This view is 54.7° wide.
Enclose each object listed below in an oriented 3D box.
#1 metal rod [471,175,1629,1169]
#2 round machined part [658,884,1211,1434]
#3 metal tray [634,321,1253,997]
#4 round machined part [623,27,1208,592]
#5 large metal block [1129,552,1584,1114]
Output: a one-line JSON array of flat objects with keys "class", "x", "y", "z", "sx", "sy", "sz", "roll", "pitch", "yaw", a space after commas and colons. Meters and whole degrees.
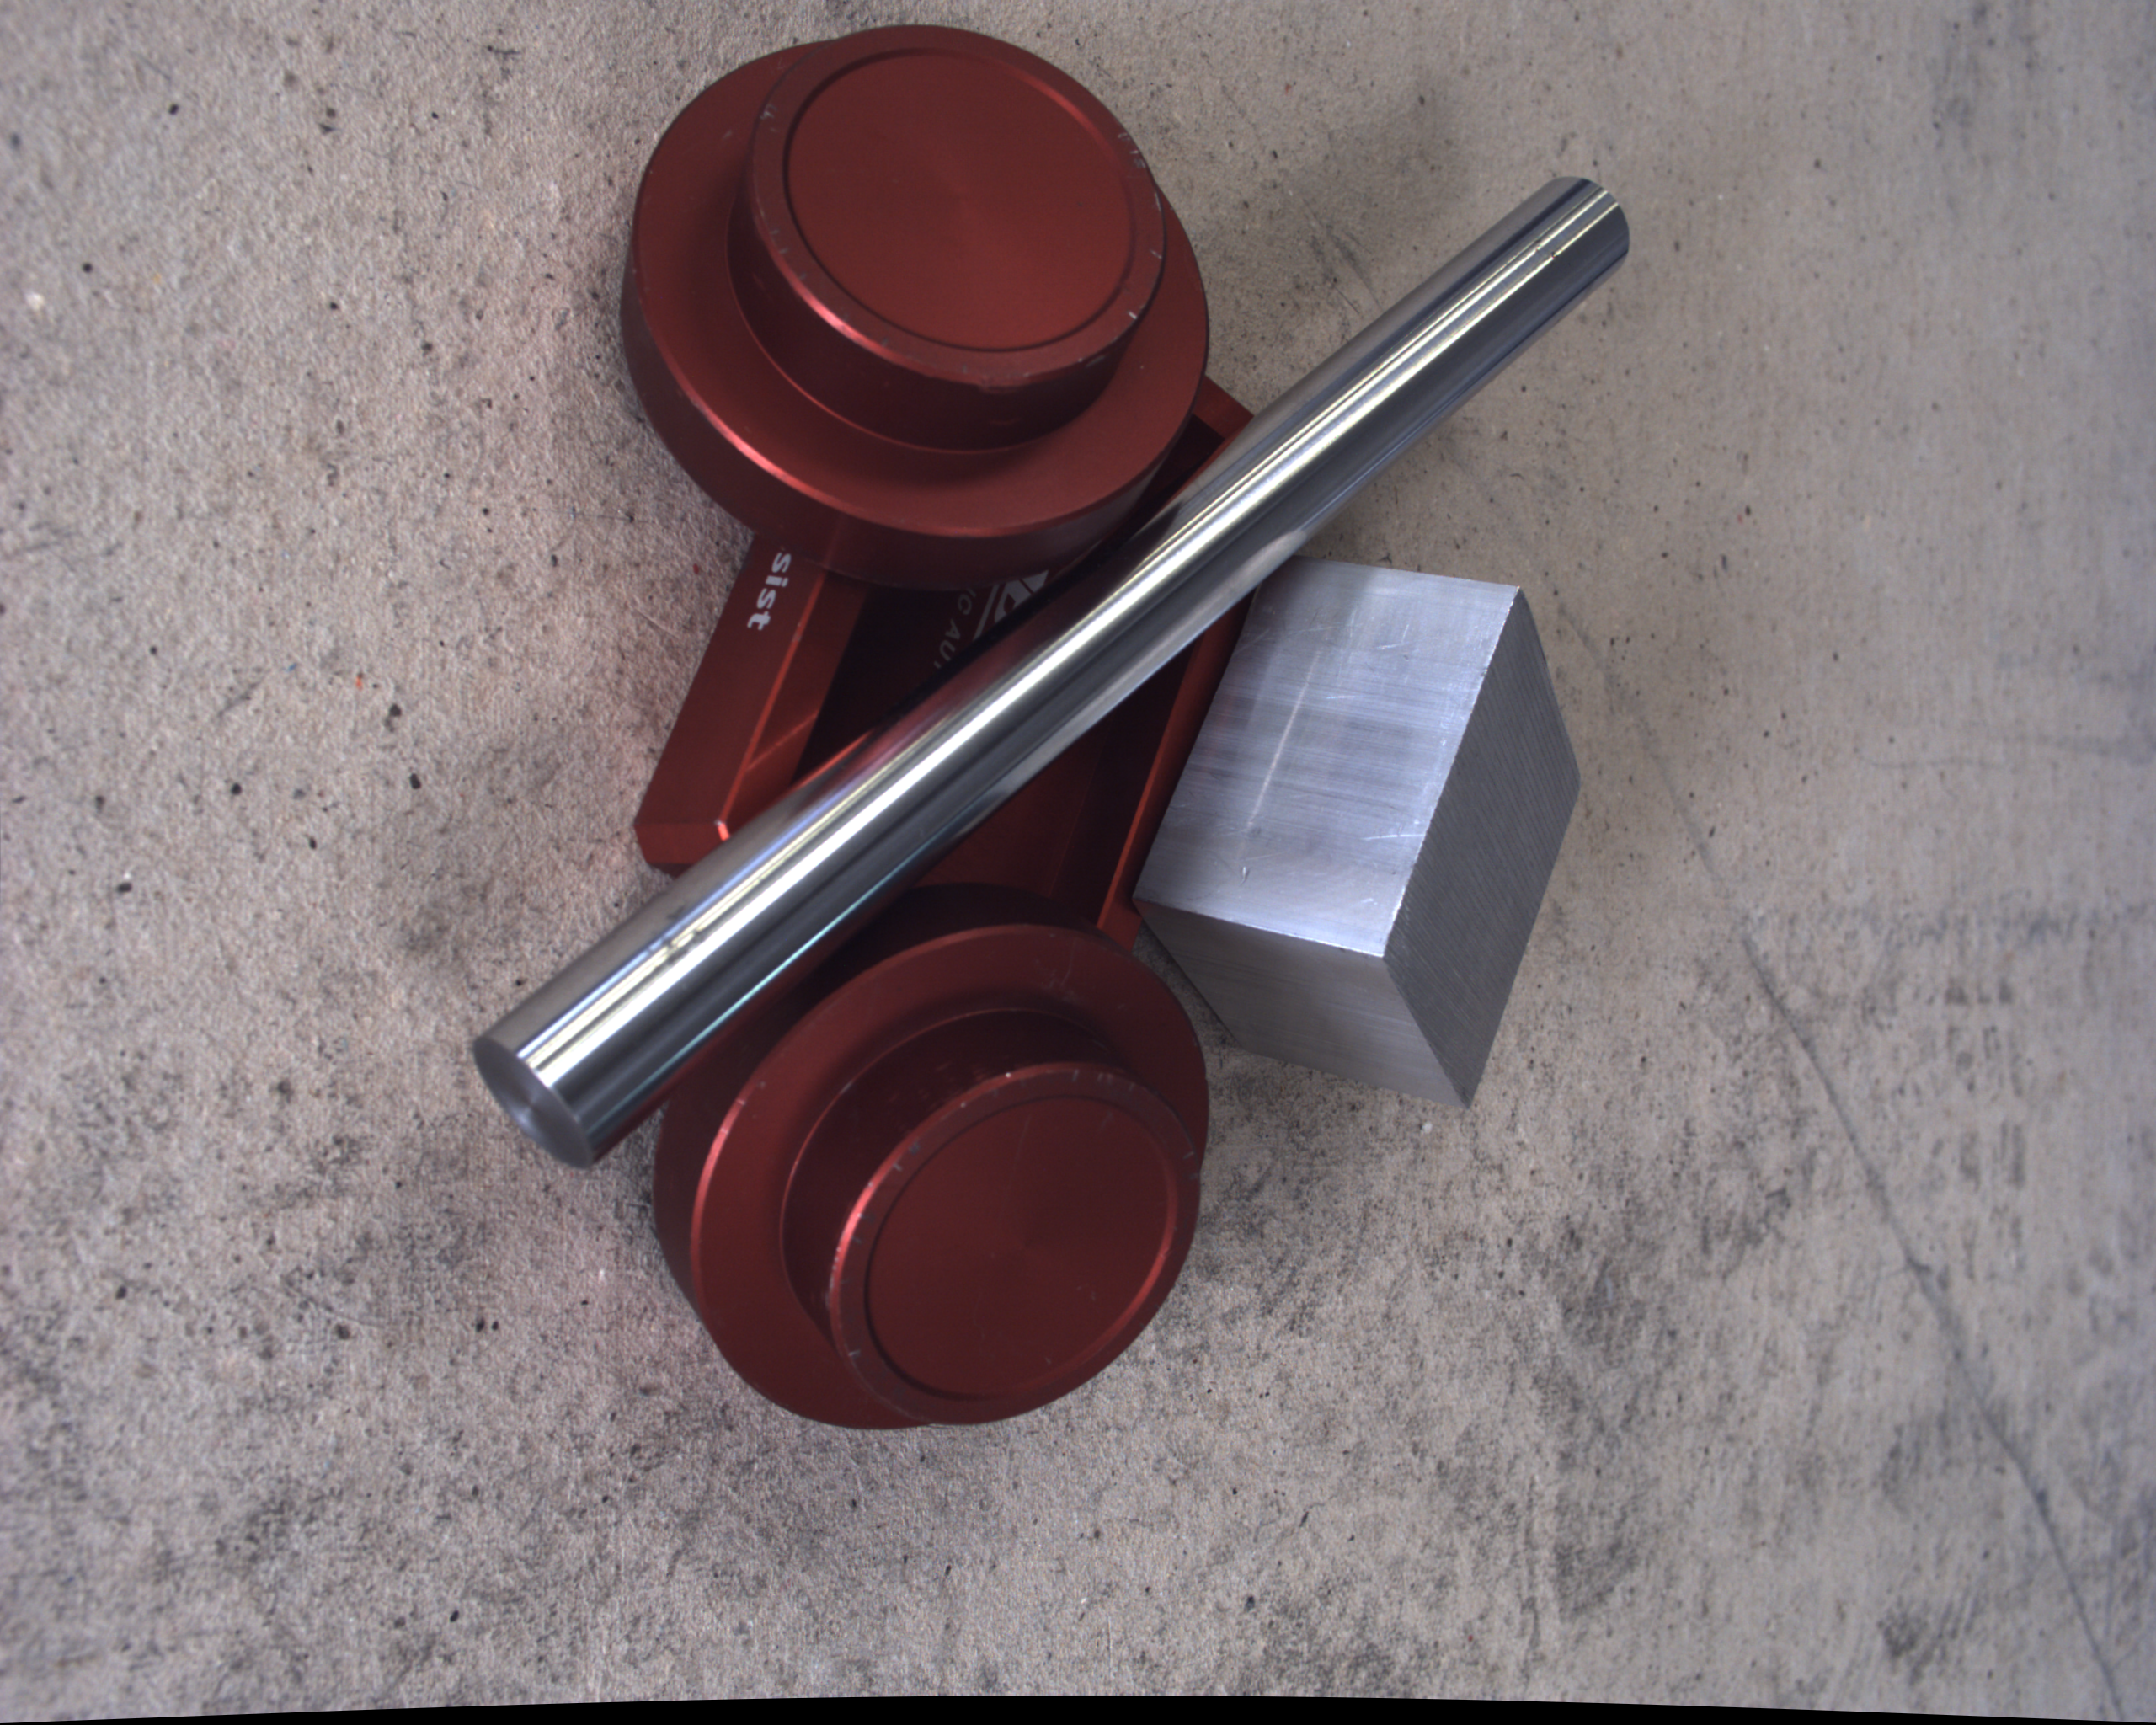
[{"class": "metal rod", "x": 0.015, "y": -0.052, "z": 0.380, "sx": 0.302, "sy": 0.025, "sz": 0.025, "roll": -43, "pitch": 116, "yaw": -32}, {"class": "round machined part", "x": -0.018, "y": 0.056, "z": 0.358, "sx": 0.099, "sy": 0.042, "sz": 0.097, "roll": -13, "pitch": 117, "yaw": -27}, {"class": "metal tray", "x": -0.016, "y": -0.042, "z": 0.389, "sx": 0.090, "sy": 0.030, "sz": 0.130, "roll": 31, "pitch": 71, "yaw": -36}, {"class": "round machined part", "x": -0.024, "y": -0.098, "z": 0.348, "sx": 0.099, "sy": 0.042, "sz": 0.098, "roll": 6, "pitch": 69, "yaw": -16}, {"class": "large metal block", "x": 0.060, "y": -0.005, "z": 0.421, "sx": 0.080, "sy": 0.050, "sz": 0.080, "roll": -67, "pitch": 151, "yaw": -19}]
